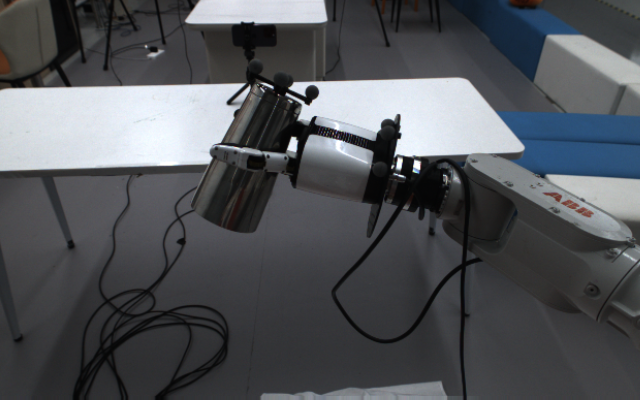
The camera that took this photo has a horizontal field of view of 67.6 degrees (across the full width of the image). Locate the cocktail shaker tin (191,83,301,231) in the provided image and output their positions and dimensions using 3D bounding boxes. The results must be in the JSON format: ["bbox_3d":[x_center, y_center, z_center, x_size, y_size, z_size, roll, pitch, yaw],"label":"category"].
[{"bbox_3d":[-0.085,-0.055,0.607,0.093,0.170,0.093,24,12,-6],"label":"cocktail shaker tin"}]
